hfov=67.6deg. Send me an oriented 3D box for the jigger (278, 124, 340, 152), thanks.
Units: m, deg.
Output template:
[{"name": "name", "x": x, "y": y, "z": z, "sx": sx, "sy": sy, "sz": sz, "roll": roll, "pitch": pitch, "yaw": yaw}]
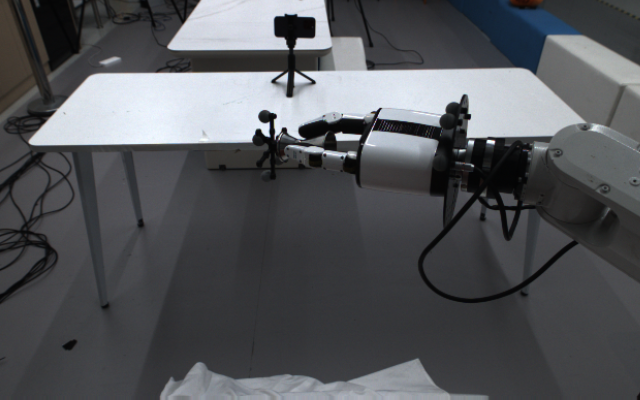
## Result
[{"name": "jigger", "x": -0.011, "y": -0.072, "z": 0.634, "sx": 0.071, "sy": 0.043, "sz": 0.043, "roll": 4, "pitch": 33, "yaw": 23}]
